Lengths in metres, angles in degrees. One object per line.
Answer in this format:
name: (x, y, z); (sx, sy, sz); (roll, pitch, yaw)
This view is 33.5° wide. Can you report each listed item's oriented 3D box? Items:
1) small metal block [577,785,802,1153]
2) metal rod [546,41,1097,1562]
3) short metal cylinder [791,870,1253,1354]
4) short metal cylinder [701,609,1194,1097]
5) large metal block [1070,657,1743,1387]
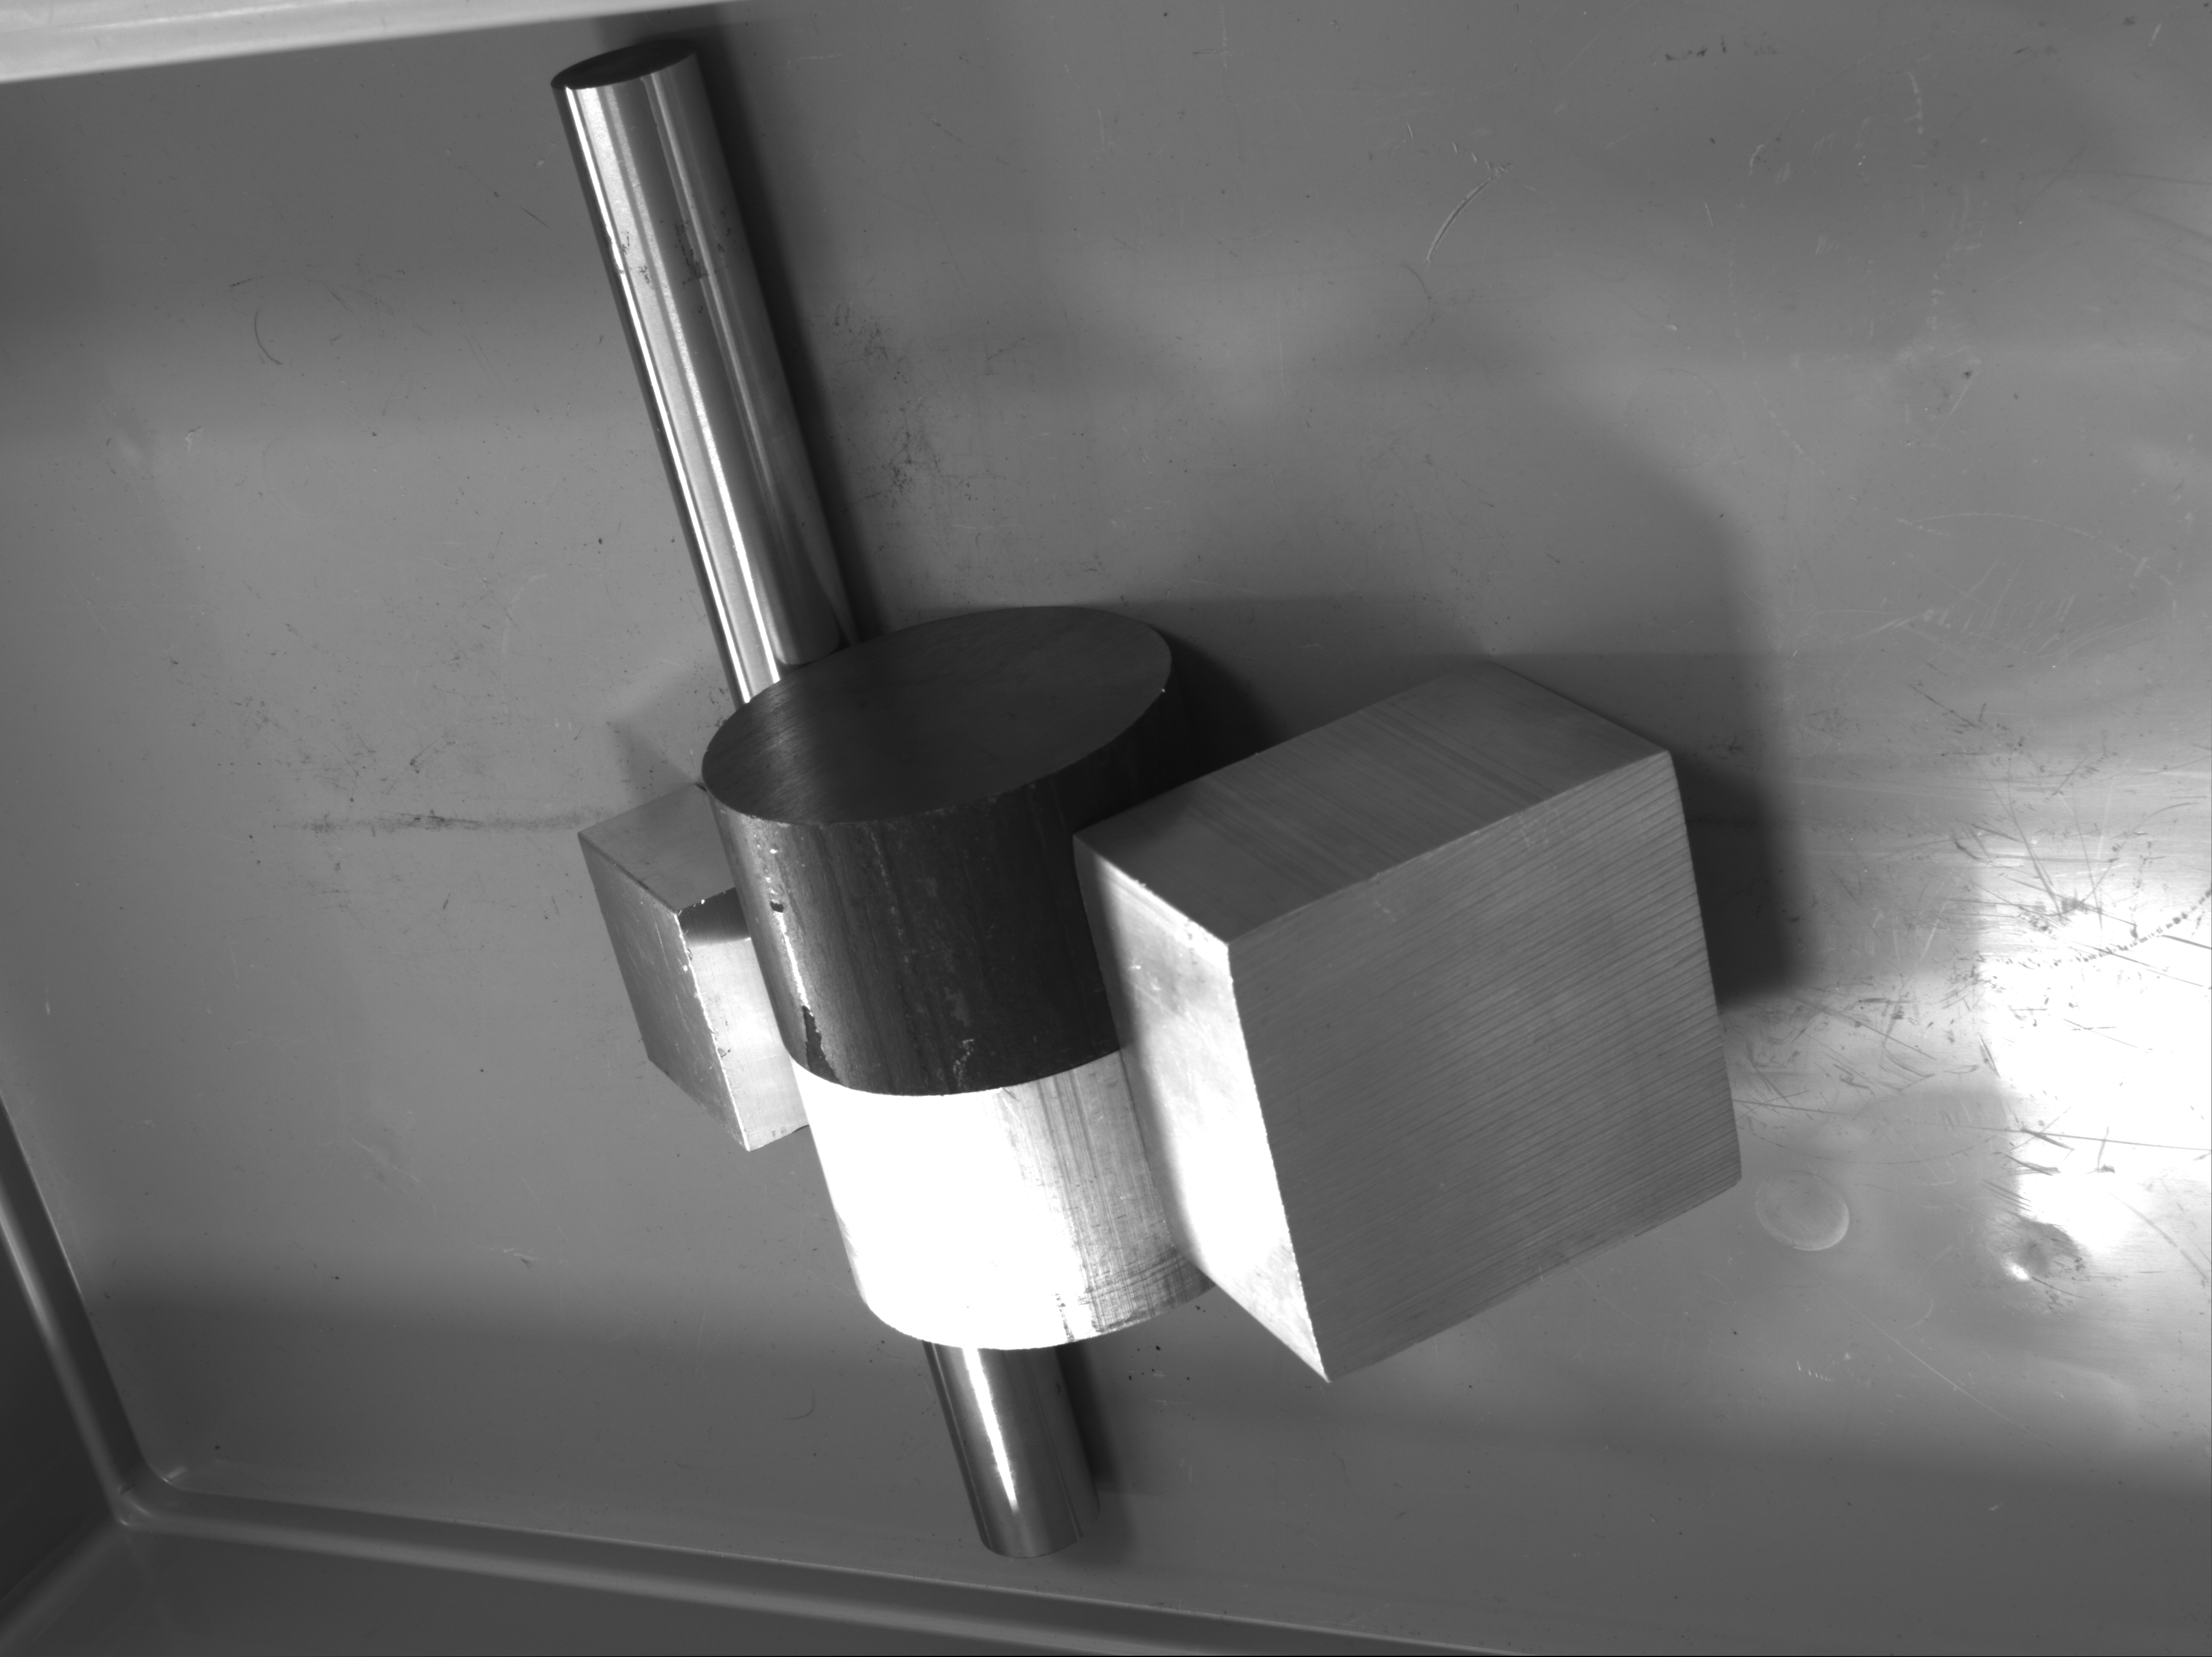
small metal block: (-0.071, 0.025, 0.680); (0.050, 0.025, 0.050); (29, 138, 56)
metal rod: (-0.047, 0.006, 0.669); (0.025, 0.025, 0.300); (0, 118, 28)
short metal cylinder: (-0.011, 0.048, 0.640); (0.080, 0.080, 0.050); (0, 118, 28)
short metal cylinder: (-0.023, 0.003, 0.619); (0.080, 0.080, 0.050); (0, 118, 28)
large metal block: (0.049, 0.029, 0.588); (0.050, 0.080, 0.080); (35, 143, 58)
